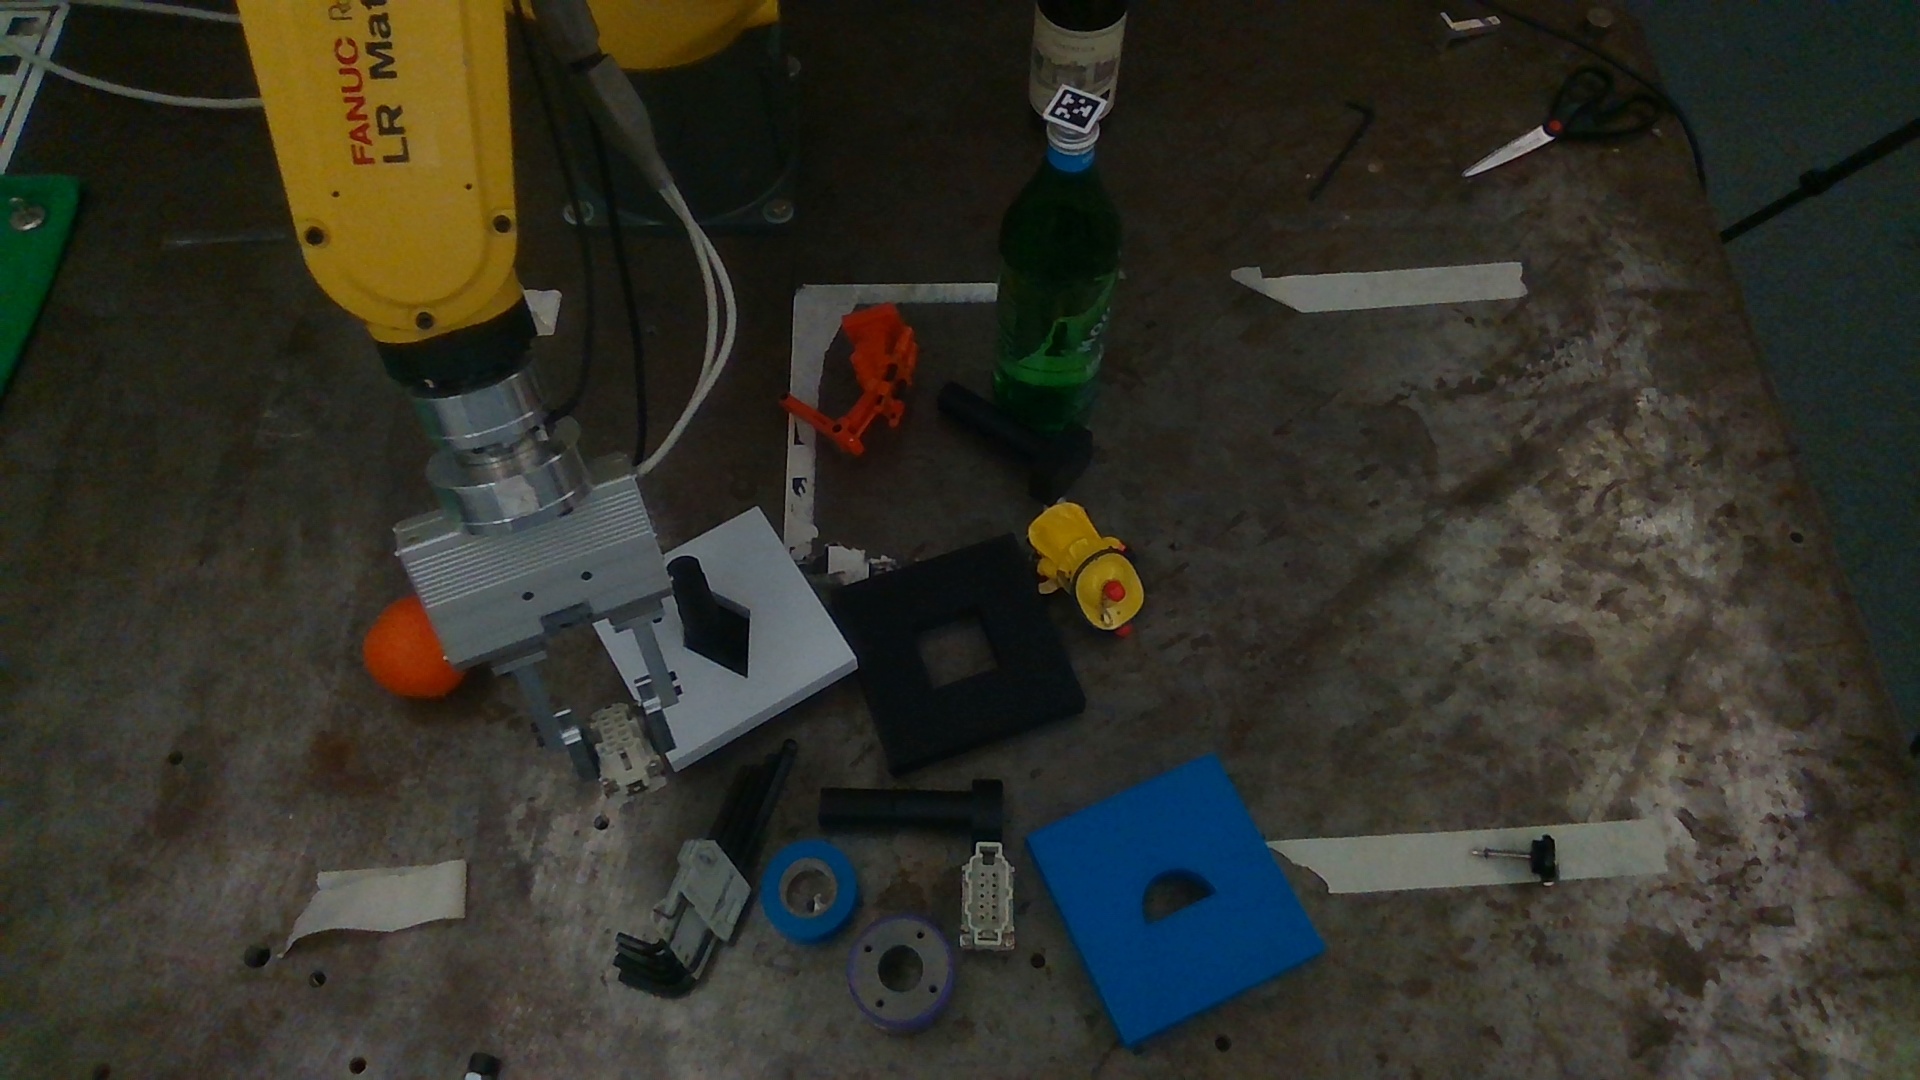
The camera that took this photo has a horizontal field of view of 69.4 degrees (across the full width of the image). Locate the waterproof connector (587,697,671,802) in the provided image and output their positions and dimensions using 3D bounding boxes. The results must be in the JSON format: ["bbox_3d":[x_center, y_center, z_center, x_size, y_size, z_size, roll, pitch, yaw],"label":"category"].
[{"bbox_3d":[-0.196,0.120,0.813,0.036,0.038,0.069,-26,32,-10],"label":"waterproof connector"}]
